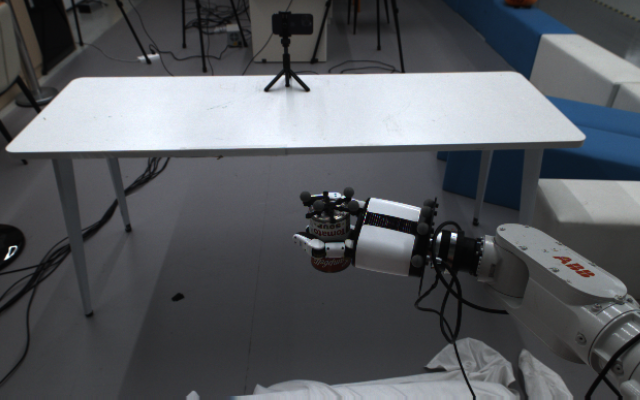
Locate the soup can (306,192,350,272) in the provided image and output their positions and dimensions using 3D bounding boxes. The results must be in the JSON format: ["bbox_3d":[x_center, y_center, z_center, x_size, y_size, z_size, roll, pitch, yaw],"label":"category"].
[{"bbox_3d":[0.017,0.057,0.777,0.067,0.101,0.067,-2,32,1],"label":"soup can"}]
